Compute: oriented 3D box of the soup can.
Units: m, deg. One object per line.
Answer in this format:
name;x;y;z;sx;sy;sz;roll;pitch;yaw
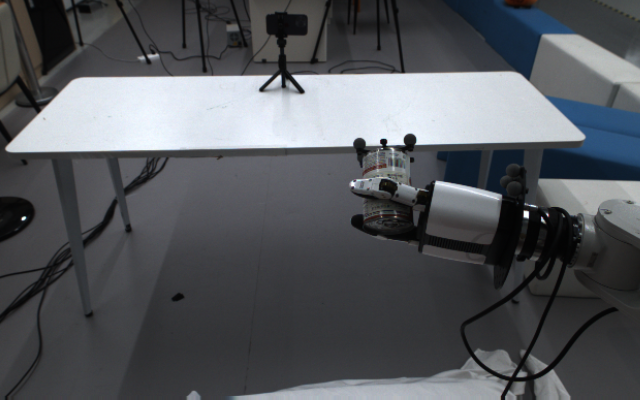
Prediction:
soup can;0.092;-0.011;0.653;0.067;0.067;0.101;2;68;-1
